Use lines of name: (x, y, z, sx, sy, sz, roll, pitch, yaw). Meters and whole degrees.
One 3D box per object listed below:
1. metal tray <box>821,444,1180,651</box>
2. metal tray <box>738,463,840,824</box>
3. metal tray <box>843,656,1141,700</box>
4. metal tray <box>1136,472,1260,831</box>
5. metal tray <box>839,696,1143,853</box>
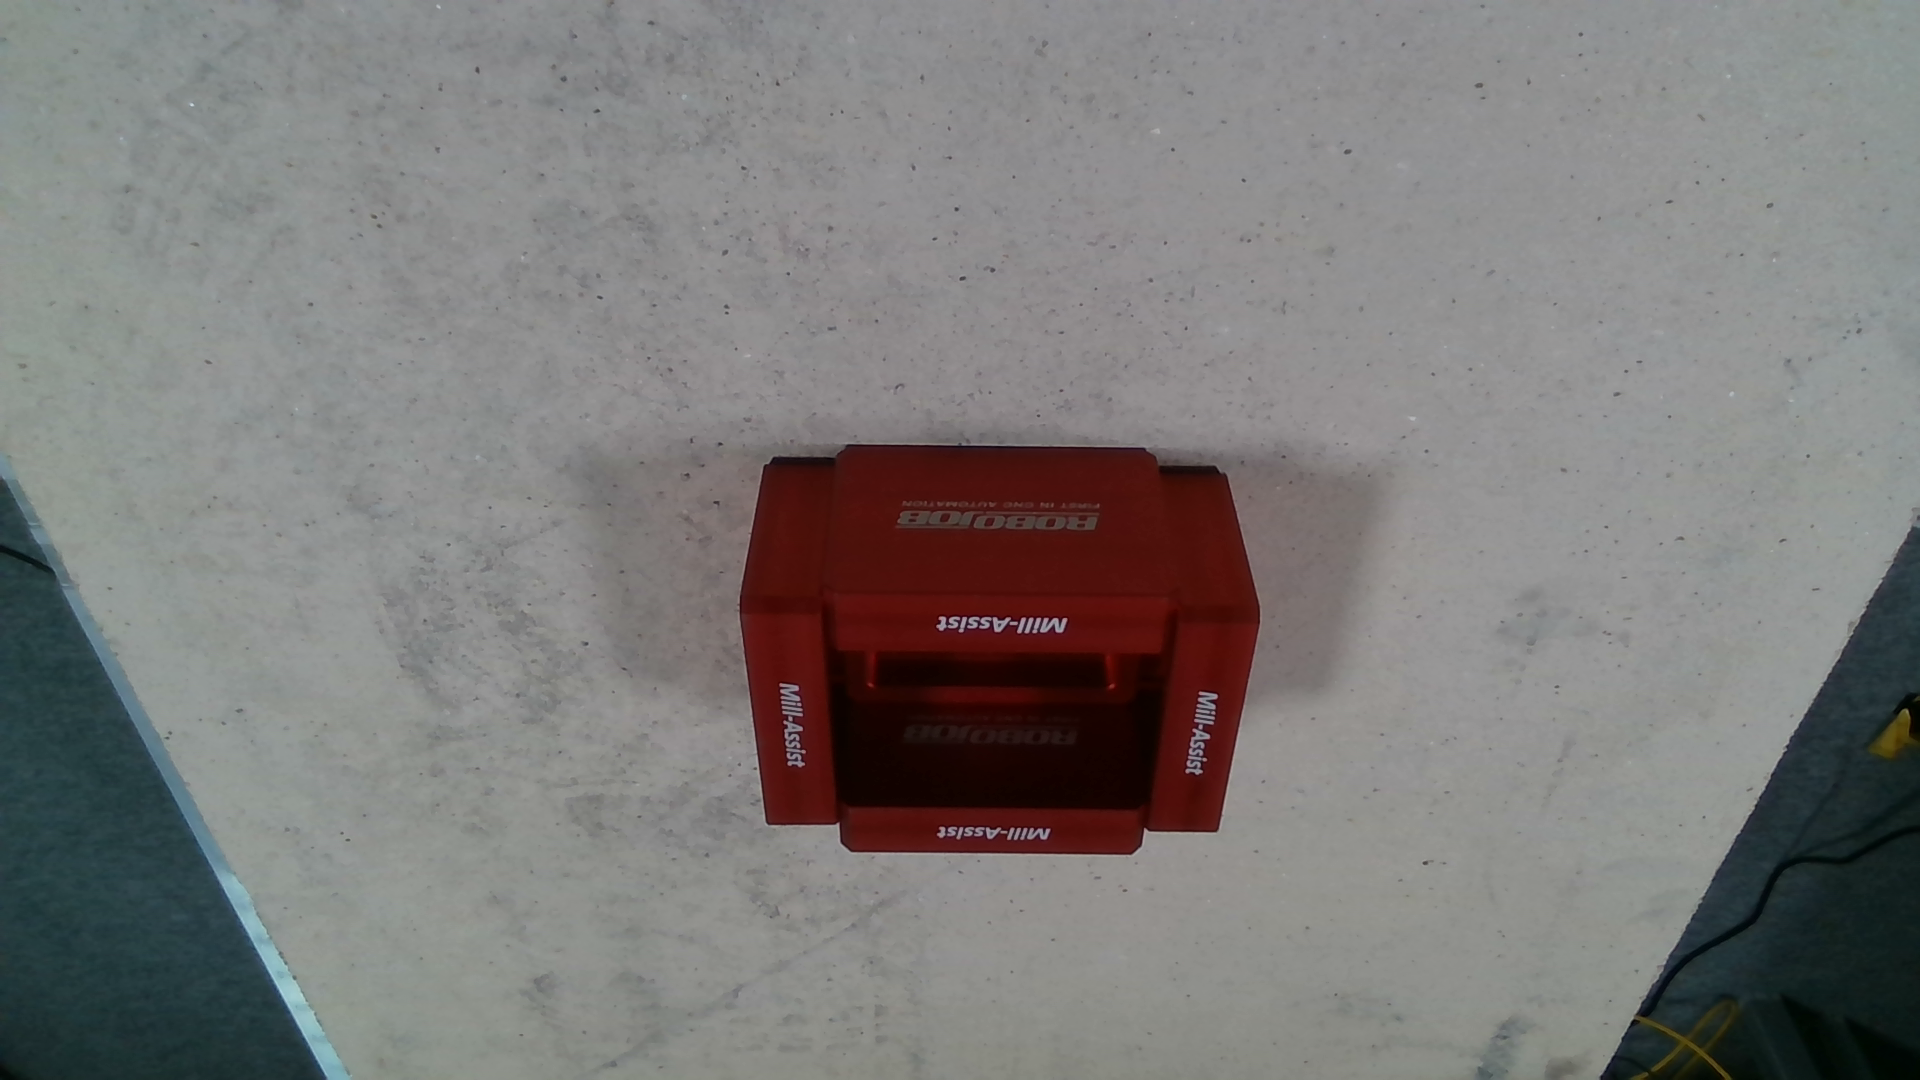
metal tray: (0.014, 0.001, 0.537, 0.130, 0.090, 0.030, 1, 130, 0)
metal tray: (-0.067, 0.044, 0.573, 0.030, 0.090, 0.130, 1, 130, 0)
metal tray: (0.014, 0.028, 0.599, 0.130, 0.030, 0.090, 1, 130, 0)
metal tray: (0.094, 0.048, 0.576, 0.030, 0.090, 0.130, 1, 130, 0)
metal tray: (0.013, 0.094, 0.616, 0.130, 0.090, 0.030, 1, 130, 0)
